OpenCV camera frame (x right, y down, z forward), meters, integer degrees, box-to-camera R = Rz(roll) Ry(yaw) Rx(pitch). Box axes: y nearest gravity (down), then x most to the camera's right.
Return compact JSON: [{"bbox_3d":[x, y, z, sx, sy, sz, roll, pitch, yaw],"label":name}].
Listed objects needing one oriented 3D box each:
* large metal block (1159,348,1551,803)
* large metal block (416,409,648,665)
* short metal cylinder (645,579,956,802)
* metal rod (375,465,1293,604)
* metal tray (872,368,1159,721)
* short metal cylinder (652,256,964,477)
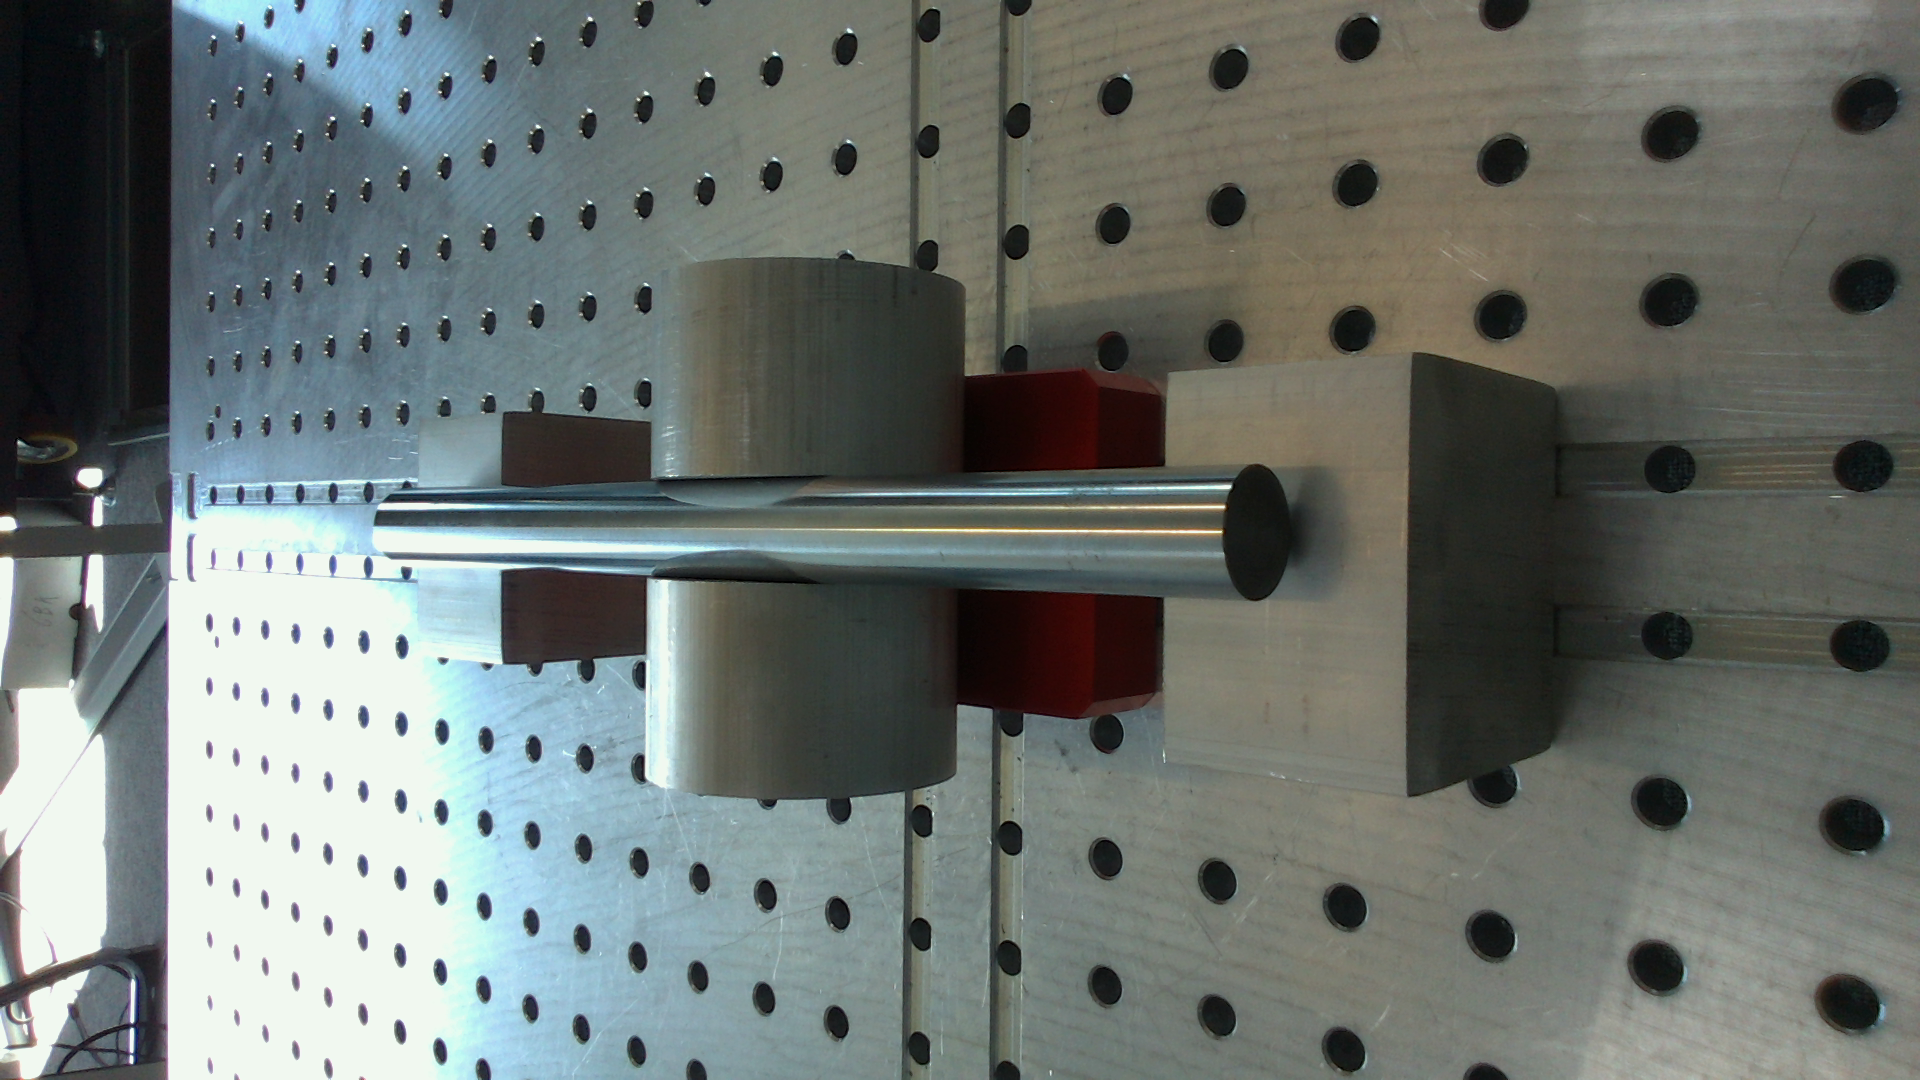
[{"bbox_3d":[0.085,0.006,0.289,0.050,0.080,0.080,1,91,40],"label":"large metal block"},{"bbox_3d":[-0.137,-0.001,0.476,0.050,0.080,0.080,1,91,40],"label":"large metal block"},{"bbox_3d":[-0.041,0.035,0.357,0.080,0.080,0.050,1,91,40],"label":"short metal cylinder"},{"bbox_3d":[-0.060,-0.002,0.343,0.299,0.025,0.025,1,91,40],"label":"metal rod"},{"bbox_3d":[-0.006,0.000,0.400,0.129,0.030,0.090,2,91,40],"label":"metal tray"},{"bbox_3d":[-0.039,-0.040,0.355,0.080,0.080,0.050,1,91,40],"label":"short metal cylinder"}]
